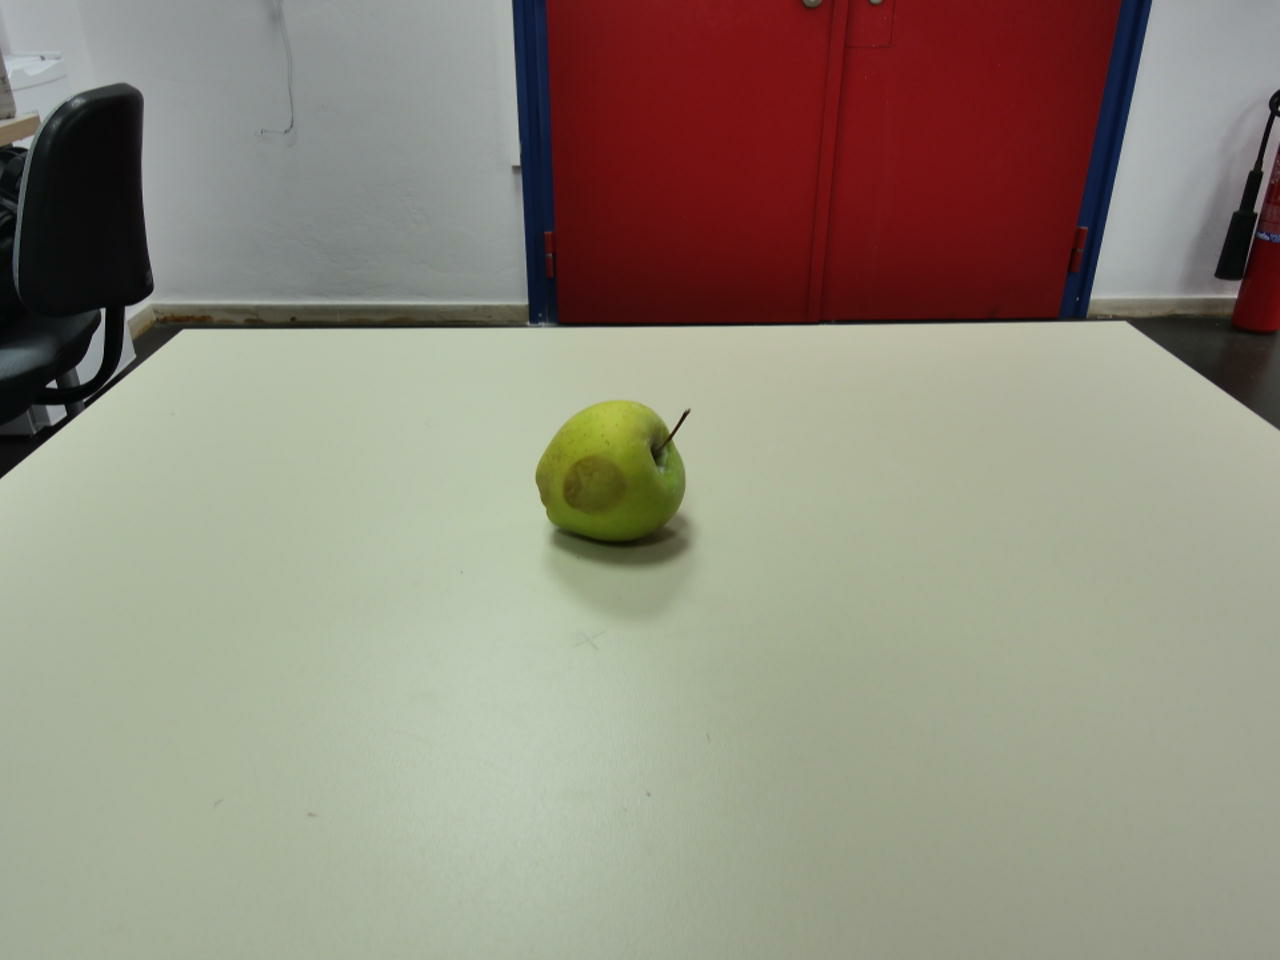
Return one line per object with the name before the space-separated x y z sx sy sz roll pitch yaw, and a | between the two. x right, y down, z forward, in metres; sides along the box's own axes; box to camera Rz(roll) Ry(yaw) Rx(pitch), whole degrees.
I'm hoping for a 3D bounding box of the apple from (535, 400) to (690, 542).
apple | -0.014 -0.005 0.533 0.077 0.075 0.072 23 34 38
